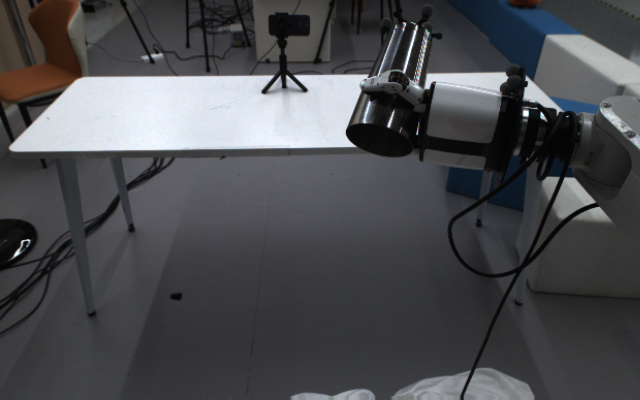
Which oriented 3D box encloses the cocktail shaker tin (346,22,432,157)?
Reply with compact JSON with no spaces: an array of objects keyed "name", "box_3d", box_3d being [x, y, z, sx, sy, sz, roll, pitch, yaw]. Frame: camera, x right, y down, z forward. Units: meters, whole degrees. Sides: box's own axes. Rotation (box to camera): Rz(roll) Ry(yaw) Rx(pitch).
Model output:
[{"name":"cocktail shaker tin","box_3d":[0.102,-0.156,0.667,0.093,0.093,0.170,14,72,16]}]
